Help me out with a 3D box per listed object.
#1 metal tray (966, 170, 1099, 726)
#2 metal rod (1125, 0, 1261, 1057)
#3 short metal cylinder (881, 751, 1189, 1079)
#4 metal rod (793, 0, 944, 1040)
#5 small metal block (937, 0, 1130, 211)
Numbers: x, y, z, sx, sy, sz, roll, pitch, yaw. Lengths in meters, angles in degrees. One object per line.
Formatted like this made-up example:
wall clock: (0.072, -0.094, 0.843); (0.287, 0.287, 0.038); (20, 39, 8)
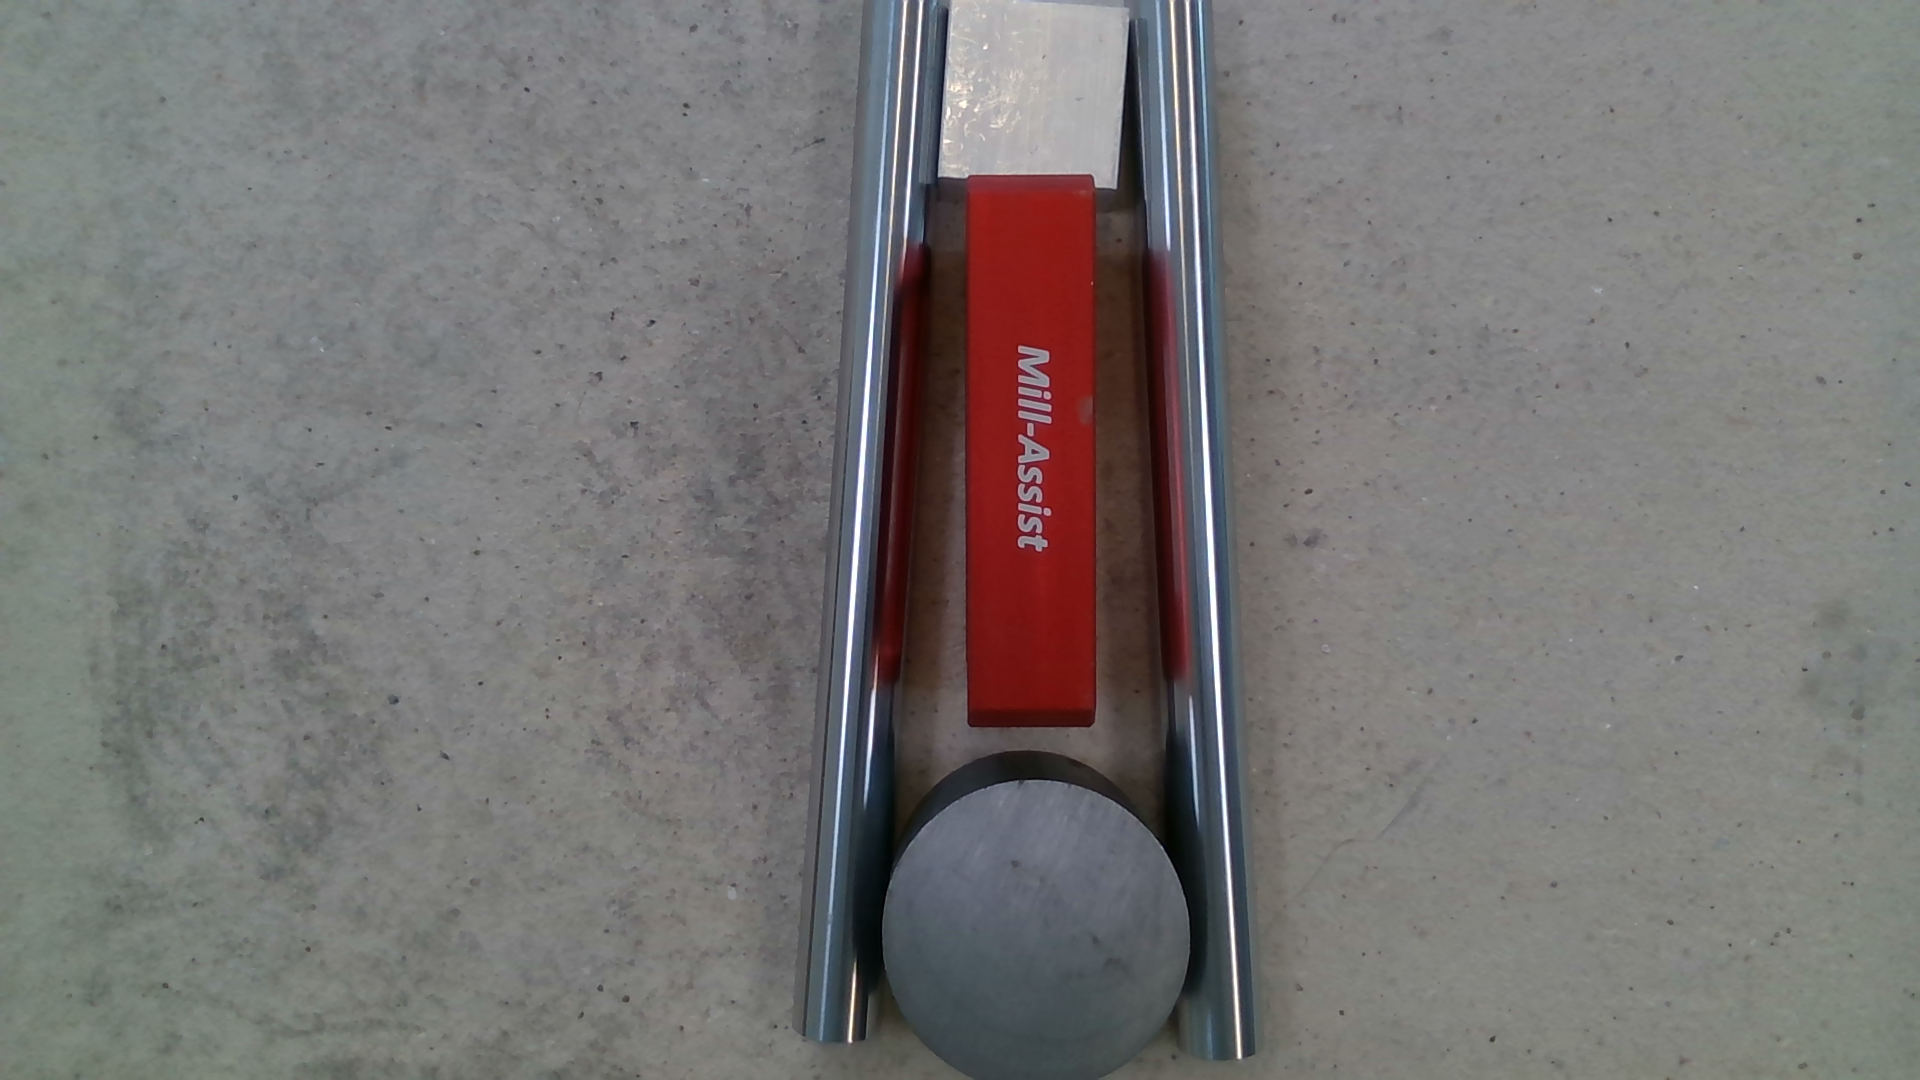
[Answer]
metal tray: (0.017, -0.021, 0.362); (0.030, 0.090, 0.130); (0, 90, 0)
metal rod: (0.067, -0.006, 0.396); (0.025, 0.025, 0.300); (-3, 90, 0)
short metal cylinder: (0.020, 0.103, 0.383); (0.080, 0.050, 0.080); (0, 90, 0)
metal rod: (-0.025, -0.010, 0.396); (0.025, 0.025, 0.300); (4, 90, 0)
small metal block: (0.020, -0.124, 0.396); (0.050, 0.025, 0.050); (4, 90, 0)
